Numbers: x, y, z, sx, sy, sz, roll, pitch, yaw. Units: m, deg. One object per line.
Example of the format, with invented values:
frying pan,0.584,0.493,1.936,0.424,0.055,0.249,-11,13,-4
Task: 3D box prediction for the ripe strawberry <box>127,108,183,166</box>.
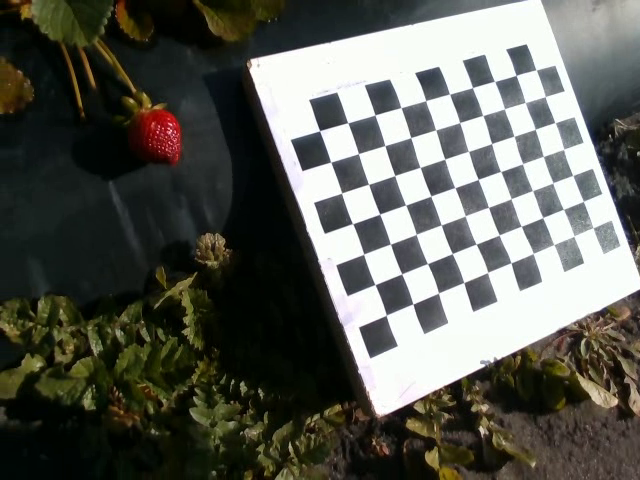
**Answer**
ripe strawberry,-0.102,-0.063,0.371,0.040,0.044,0.037,-40,-6,-20
